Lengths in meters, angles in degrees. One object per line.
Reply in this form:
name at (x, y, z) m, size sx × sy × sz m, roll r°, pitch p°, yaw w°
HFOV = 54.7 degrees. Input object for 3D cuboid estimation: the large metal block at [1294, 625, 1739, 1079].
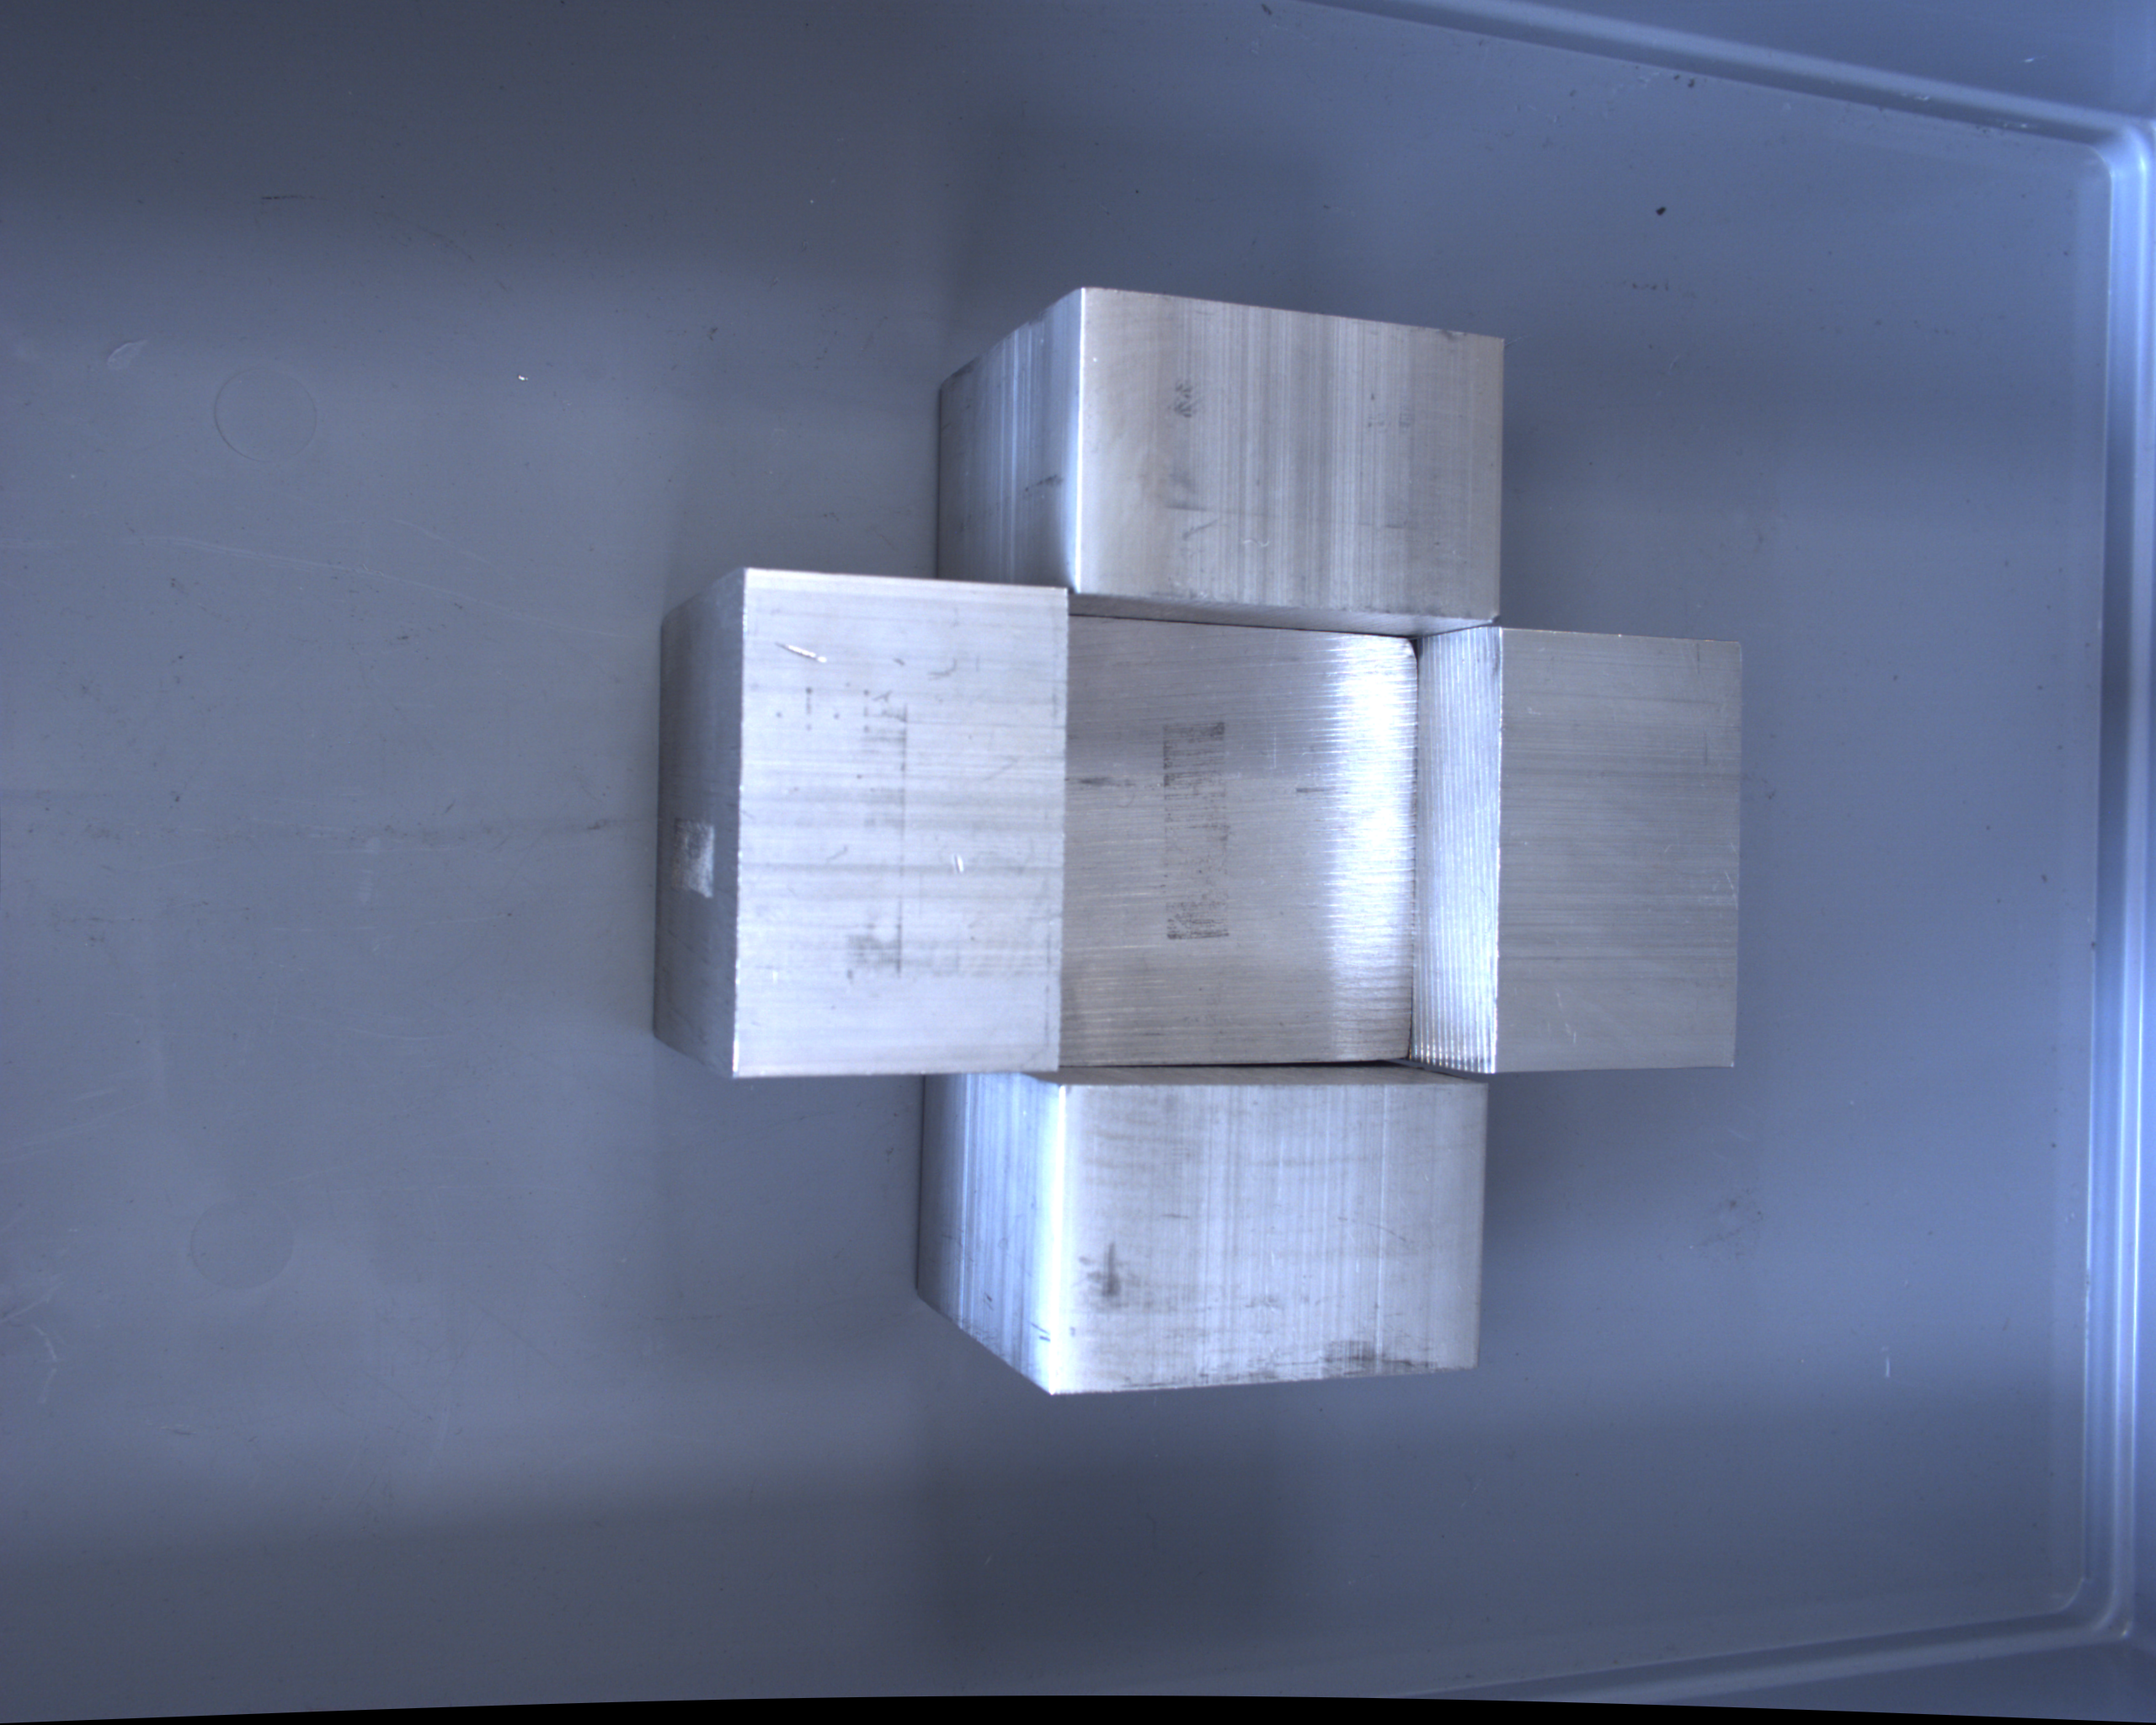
large metal block at (0.083, -0.002, 0.411) m, size 0.050 × 0.080 × 0.080 m, roll 1°, pitch 90°, yaw -20°

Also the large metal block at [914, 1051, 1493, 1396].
large metal block at (0.020, 0.062, 0.387) m, size 0.081 × 0.080 × 0.050 m, roll 2°, pitch 90°, yaw -20°

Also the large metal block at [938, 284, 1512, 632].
large metal block at (0.024, -0.068, 0.388) m, size 0.081 × 0.080 × 0.050 m, roll 1°, pitch 90°, yaw -20°

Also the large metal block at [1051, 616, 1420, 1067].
large metal block at (0.017, -0.004, 0.401) m, size 0.081 × 0.050 × 0.080 m, roll 1°, pitch 90°, yaw -20°

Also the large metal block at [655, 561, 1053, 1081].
large metal block at (-0.042, -0.006, 0.365) m, size 0.050 × 0.080 × 0.080 m, roll 1°, pitch 90°, yaw -20°
